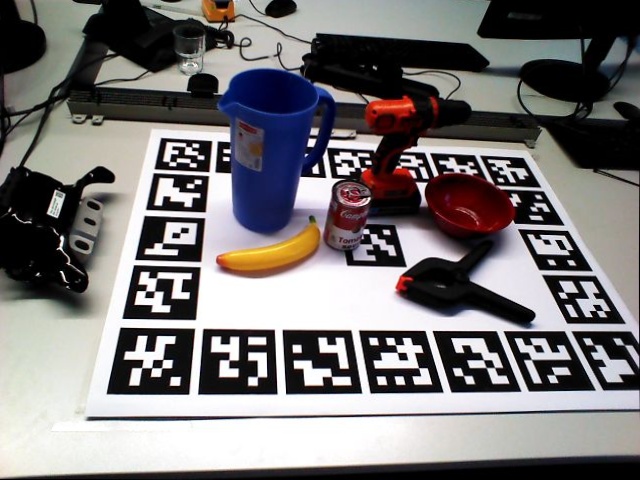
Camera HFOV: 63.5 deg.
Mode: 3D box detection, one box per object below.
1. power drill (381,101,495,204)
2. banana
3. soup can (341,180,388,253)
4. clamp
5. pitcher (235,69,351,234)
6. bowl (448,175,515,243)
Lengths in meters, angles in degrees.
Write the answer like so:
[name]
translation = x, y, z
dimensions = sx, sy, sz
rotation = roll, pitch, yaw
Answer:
[power drill]
translation = 0.187, -0.148, 0.883
dimensions = 0.184, 0.188, 0.057
rotation = -2, 47, -13
[banana]
translation = -0.049, 0.019, 0.813
dimensions = 0.196, 0.039, 0.074
rotation = -18, 43, -27
[soup can]
translation = 0.073, -0.038, 0.842
dimensions = 0.068, 0.102, 0.067
rotation = 4, 37, -4
[clamp]
translation = 0.247, 0.067, 0.804
dimensions = 0.203, 0.037, 0.164
rotation = -1, 50, -11
[pitcher]
translation = -0.044, -0.134, 0.816
dimensions = 0.188, 0.244, 0.133
rotation = -18, 48, -25
[bowl]
translation = 0.290, -0.046, 0.919
dimensions = 0.162, 0.055, 0.160
rotation = 4, 47, -5
